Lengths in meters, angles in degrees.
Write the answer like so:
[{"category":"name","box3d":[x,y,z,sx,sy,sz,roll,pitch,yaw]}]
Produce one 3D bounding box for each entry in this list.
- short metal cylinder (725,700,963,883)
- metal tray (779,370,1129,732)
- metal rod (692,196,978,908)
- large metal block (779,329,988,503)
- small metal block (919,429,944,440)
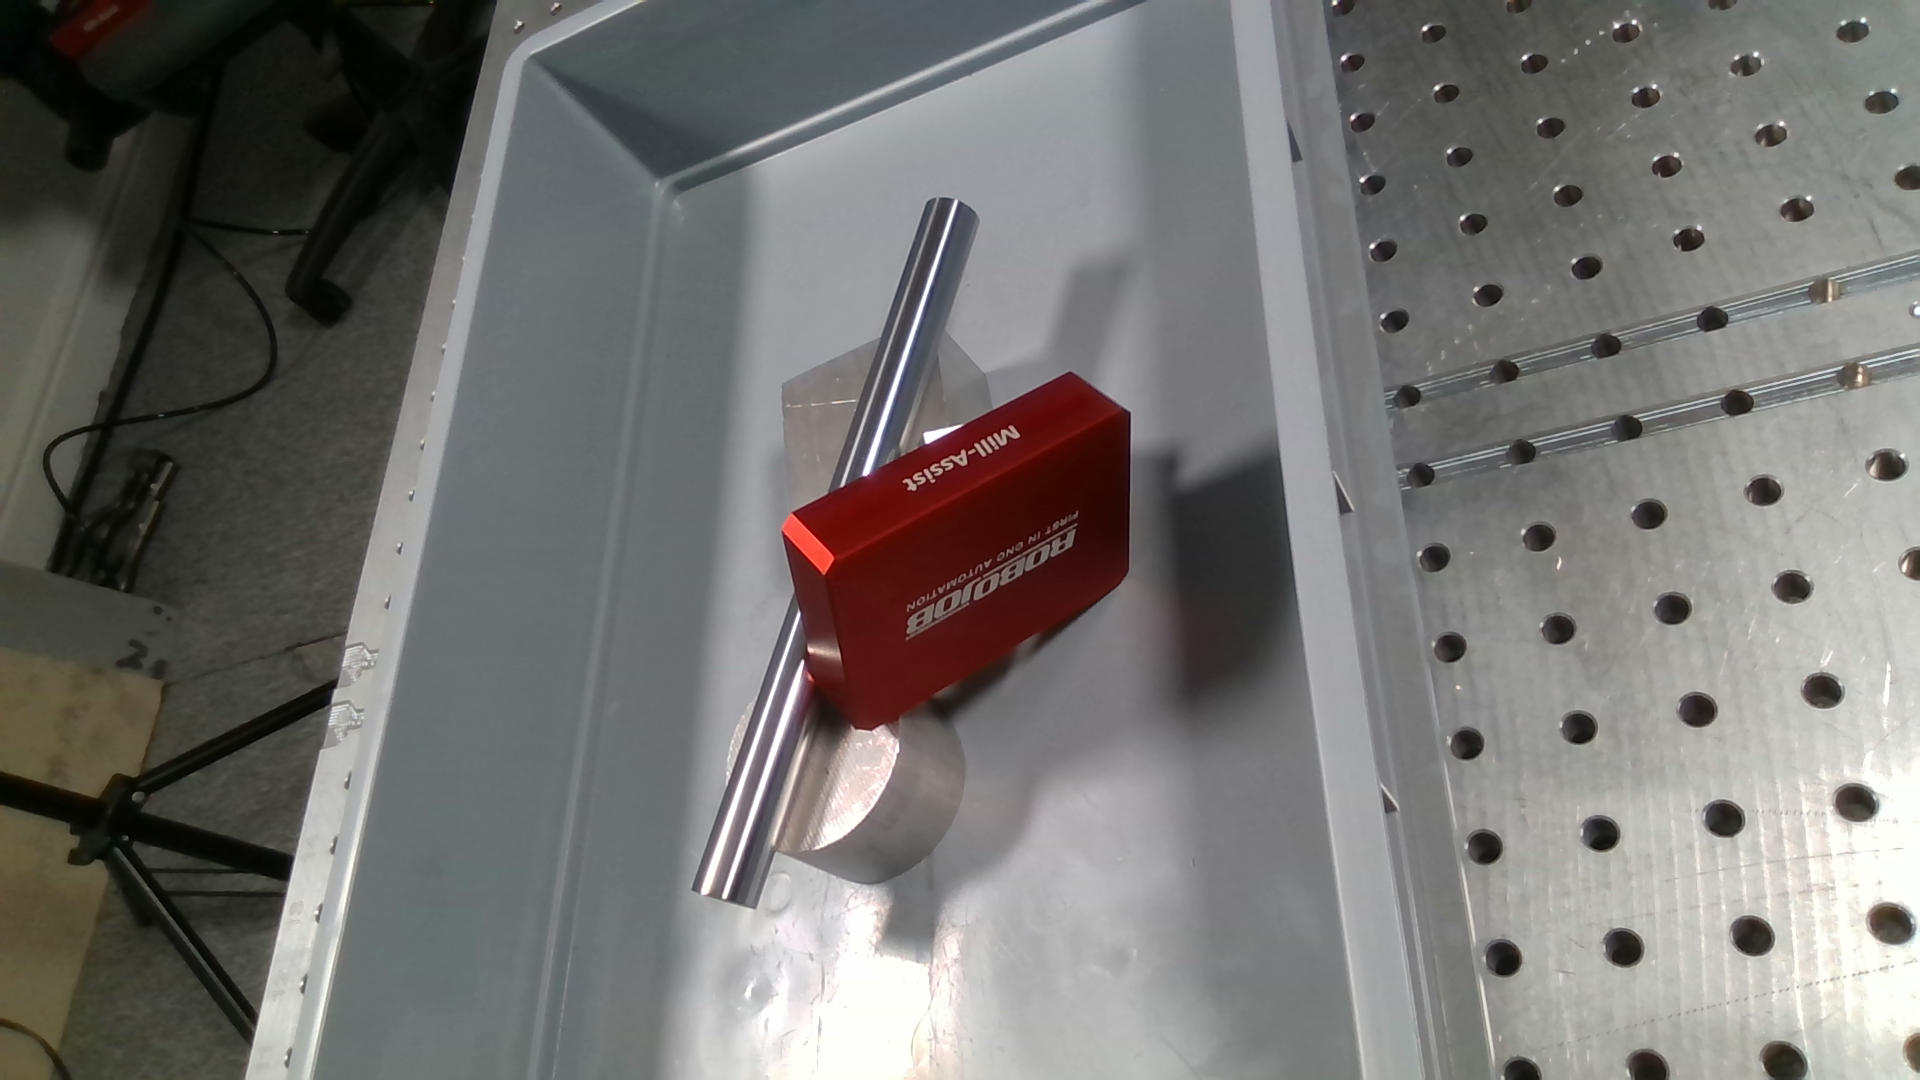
[{"category":"short metal cylinder","box3d":[-0.046,0.091,0.548,0.080,0.050,0.080,-14,59,25]},{"category":"metal tray","box3d":[0.003,0.004,0.506,0.130,0.090,0.030,-29,48,-22]},{"category":"metal rod","box3d":[-0.045,-0.005,0.549,0.025,0.025,0.299,4,68,33]},{"category":"large metal block","box3d":[-0.030,-0.041,0.609,0.080,0.050,0.080,-22,56,21]},{"category":"small metal block","box3d":[0.014,-0.021,0.543,0.050,0.025,0.050,-14,84,-13]}]
